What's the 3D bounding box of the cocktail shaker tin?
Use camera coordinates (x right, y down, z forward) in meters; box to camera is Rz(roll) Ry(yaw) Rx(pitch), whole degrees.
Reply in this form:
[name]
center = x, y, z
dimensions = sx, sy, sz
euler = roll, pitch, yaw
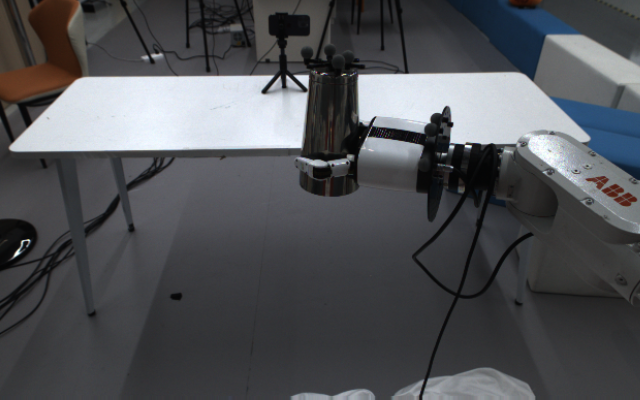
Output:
[cocktail shaker tin]
center = 0.018, -0.102, 0.694
dimensions = 0.093, 0.170, 0.093
euler = 1, 28, -1
